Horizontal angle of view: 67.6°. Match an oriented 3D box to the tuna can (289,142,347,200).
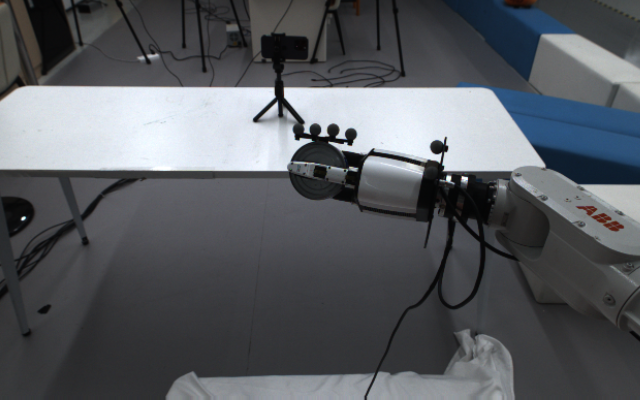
[{"bbox_3d":[0.000,-0.044,0.713,0.085,0.085,0.034,11,2,13],"label":"tuna can"}]
